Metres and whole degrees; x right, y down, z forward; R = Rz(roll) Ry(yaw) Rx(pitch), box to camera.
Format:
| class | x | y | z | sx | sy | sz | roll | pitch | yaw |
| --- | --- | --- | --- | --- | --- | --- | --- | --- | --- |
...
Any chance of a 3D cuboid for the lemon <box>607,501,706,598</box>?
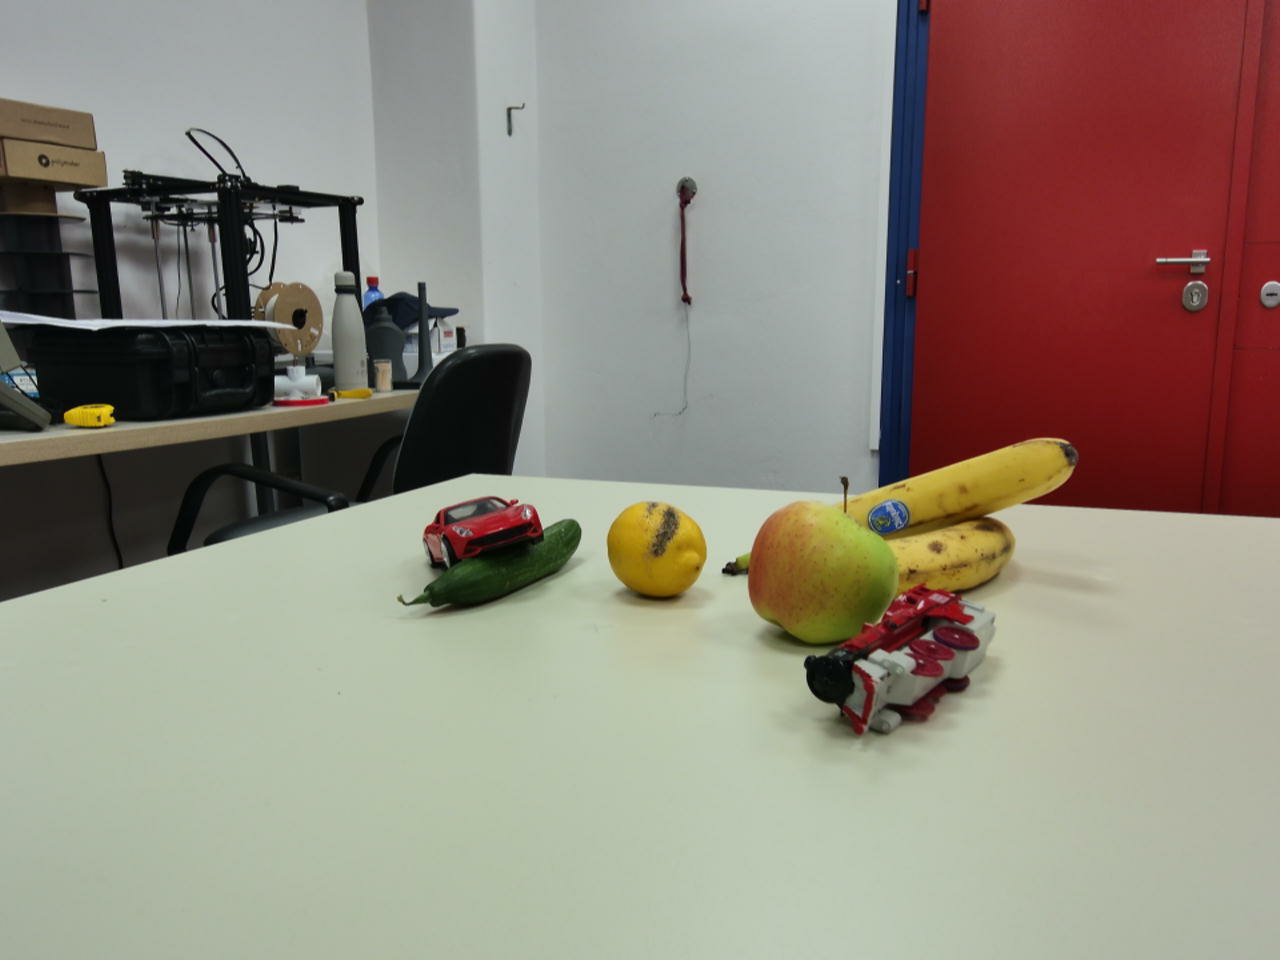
| class | x | y | z | sx | sy | sz | roll | pitch | yaw |
| --- | --- | --- | --- | --- | --- | --- | --- | --- | --- |
| lemon | 0.010 | 0.042 | 0.602 | 0.061 | 0.056 | 0.058 | 3 | 8 | 15 |
